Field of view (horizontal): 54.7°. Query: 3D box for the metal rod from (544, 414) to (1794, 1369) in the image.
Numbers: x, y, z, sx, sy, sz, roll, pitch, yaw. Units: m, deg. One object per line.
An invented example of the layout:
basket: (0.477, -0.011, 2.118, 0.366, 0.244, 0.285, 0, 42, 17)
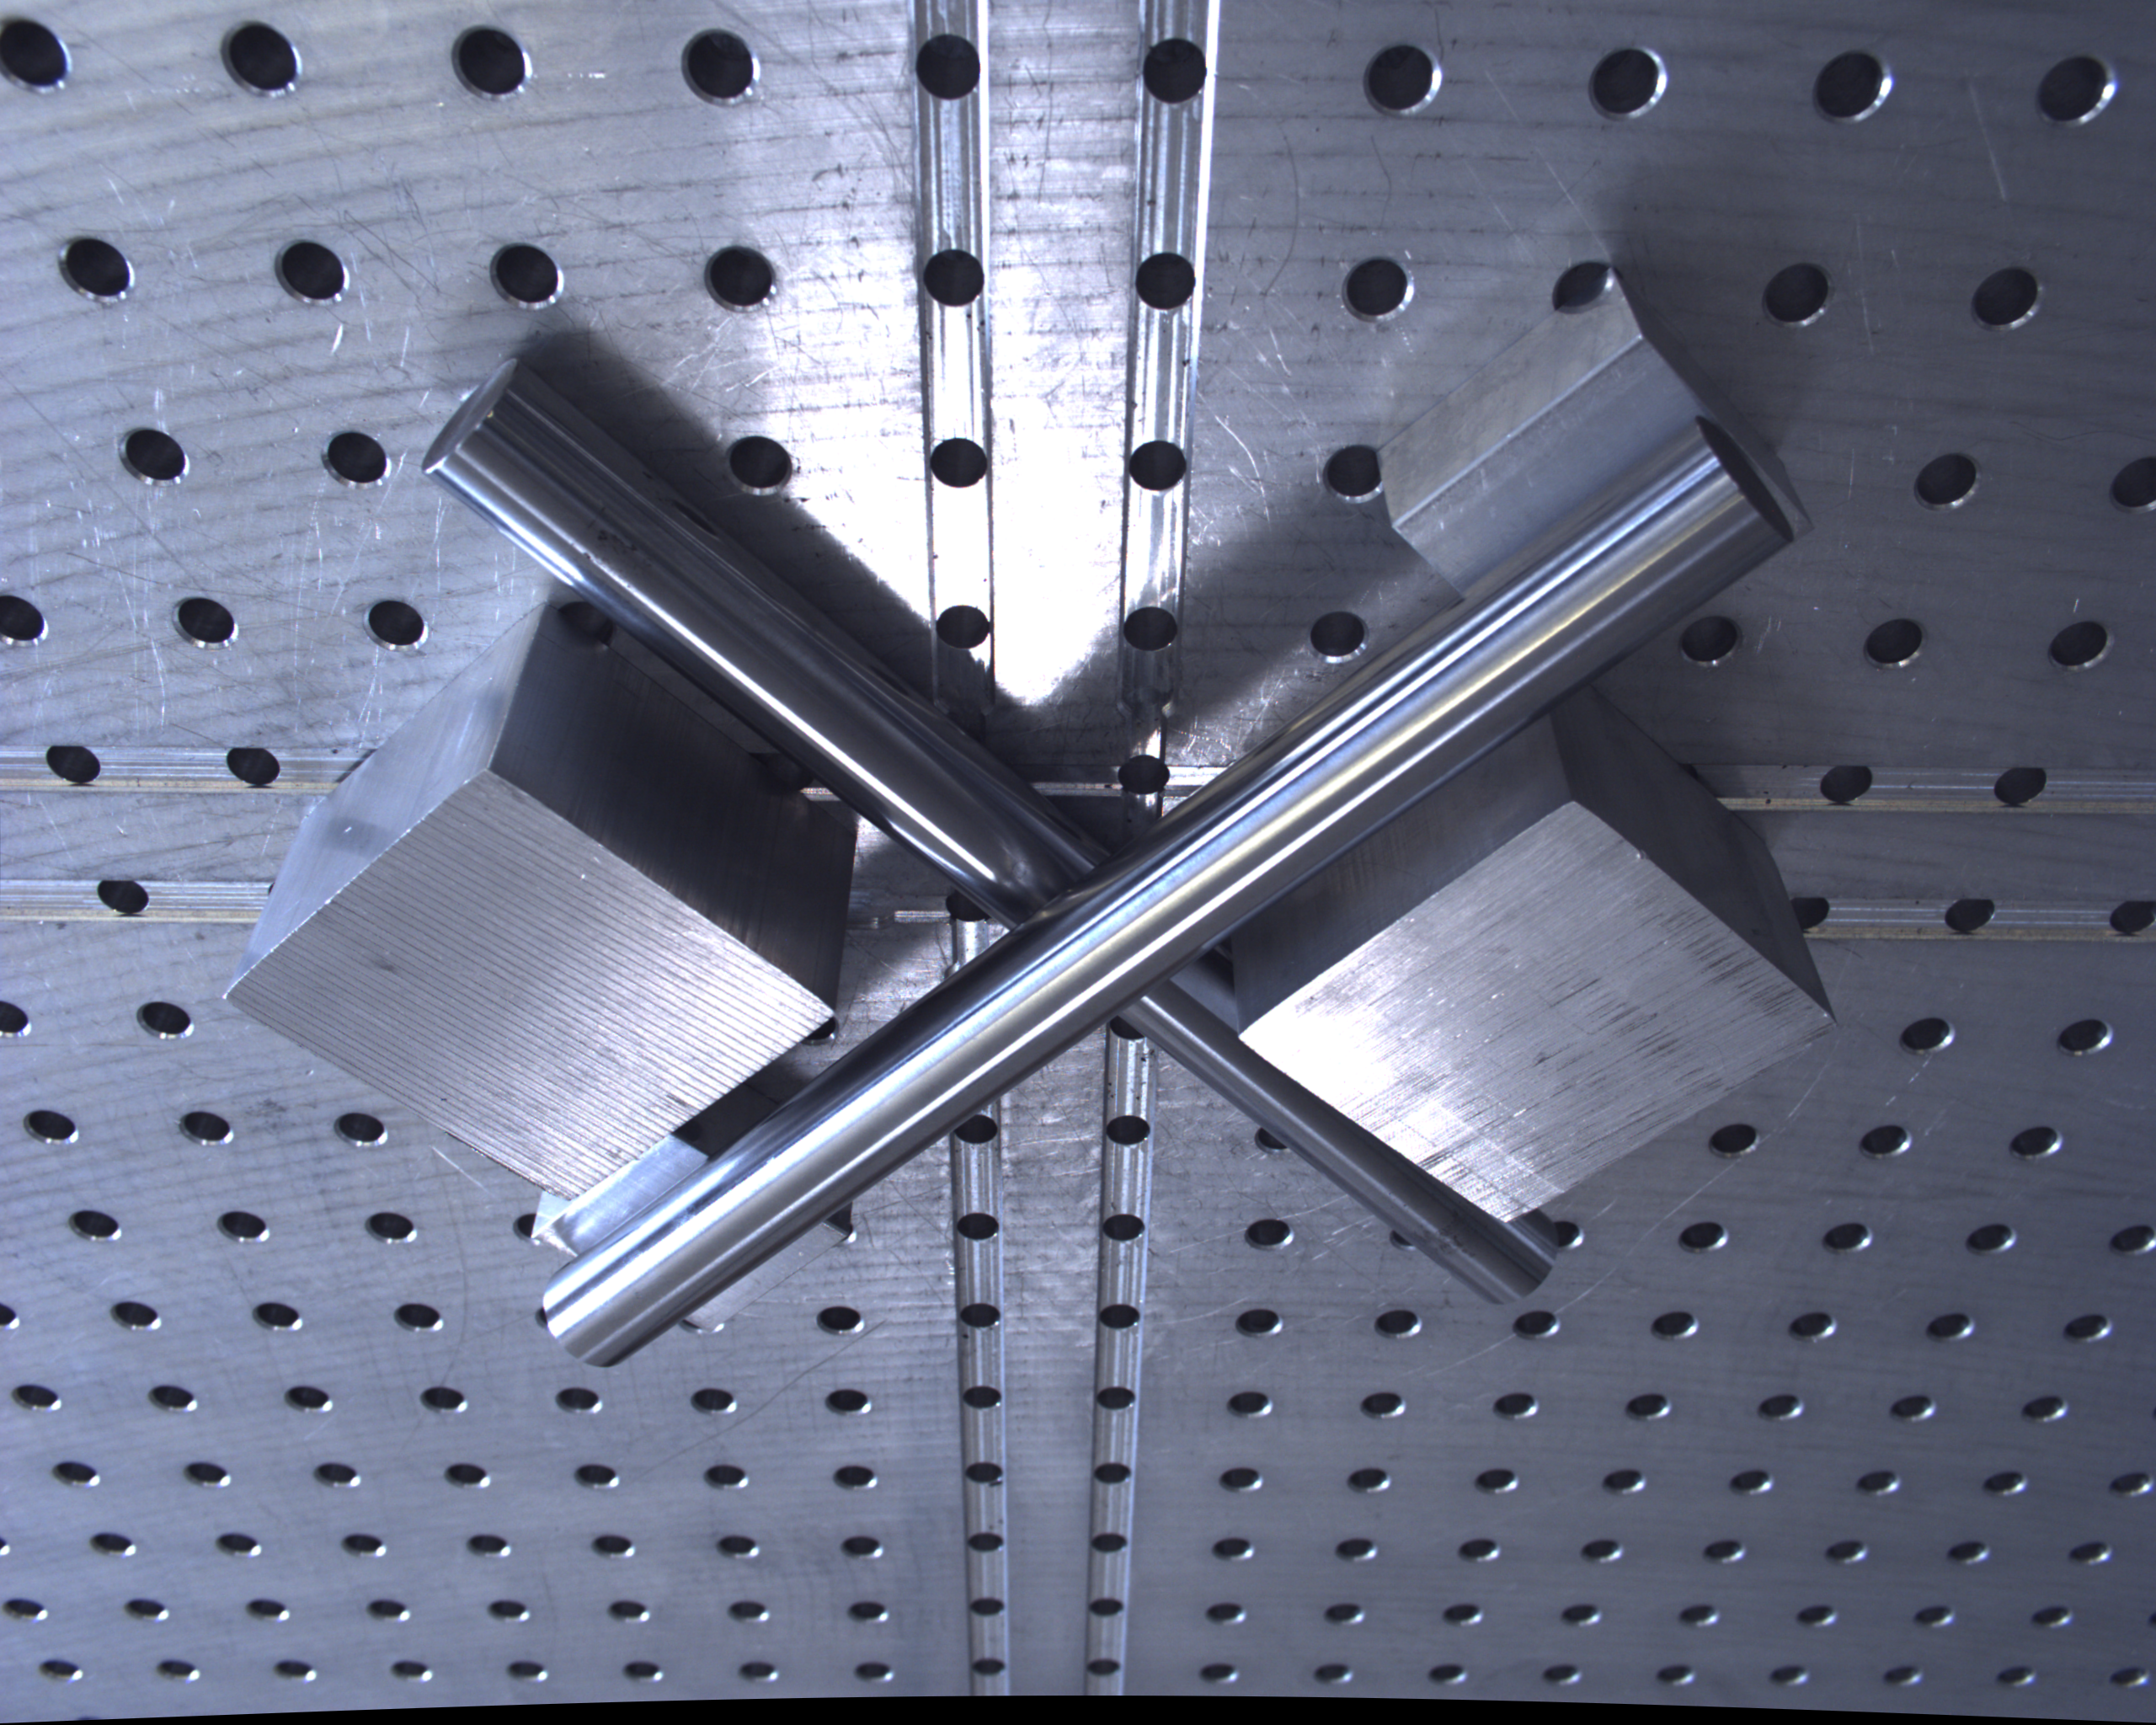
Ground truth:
metal rod: (-0.002, 0.020, 0.395, 0.299, 0.025, 0.025, -37, 121, 27)

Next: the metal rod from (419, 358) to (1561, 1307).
metal rod: (0.001, 0.010, 0.418, 0.025, 0.025, 0.301, -35, 122, 26)

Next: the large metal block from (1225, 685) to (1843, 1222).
large metal block: (0.086, 0.014, 0.408, 0.080, 0.050, 0.080, 35, 122, -26)

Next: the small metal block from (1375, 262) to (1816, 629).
small metal block: (0.088, -0.064, 0.358, 0.050, 0.025, 0.050, -37, 122, 27)

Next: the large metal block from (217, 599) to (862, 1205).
large metal block: (-0.101, 0.010, 0.403, 0.080, 0.050, 0.080, -36, 122, 26)

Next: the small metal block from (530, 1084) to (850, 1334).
small metal block: (-0.087, 0.075, 0.475, 0.050, 0.025, 0.050, 37, 121, -27)
